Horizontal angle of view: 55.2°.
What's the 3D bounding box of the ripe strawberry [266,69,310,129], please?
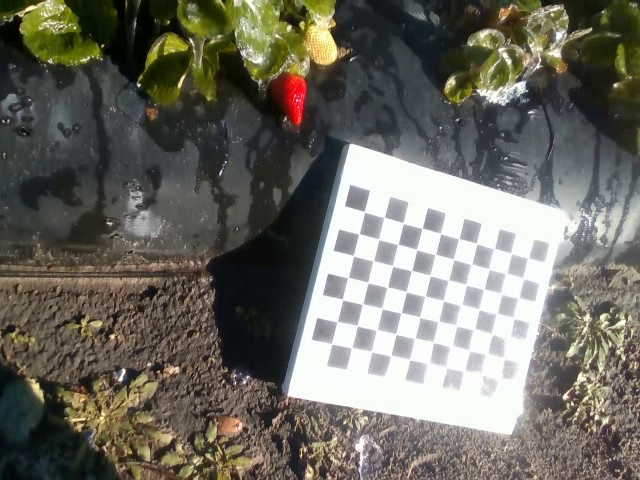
[{"bbox_3d":[-0.024,-0.141,0.606,0.041,0.052,0.040,-4,-3,-21],"label":"ripe strawberry"}]
